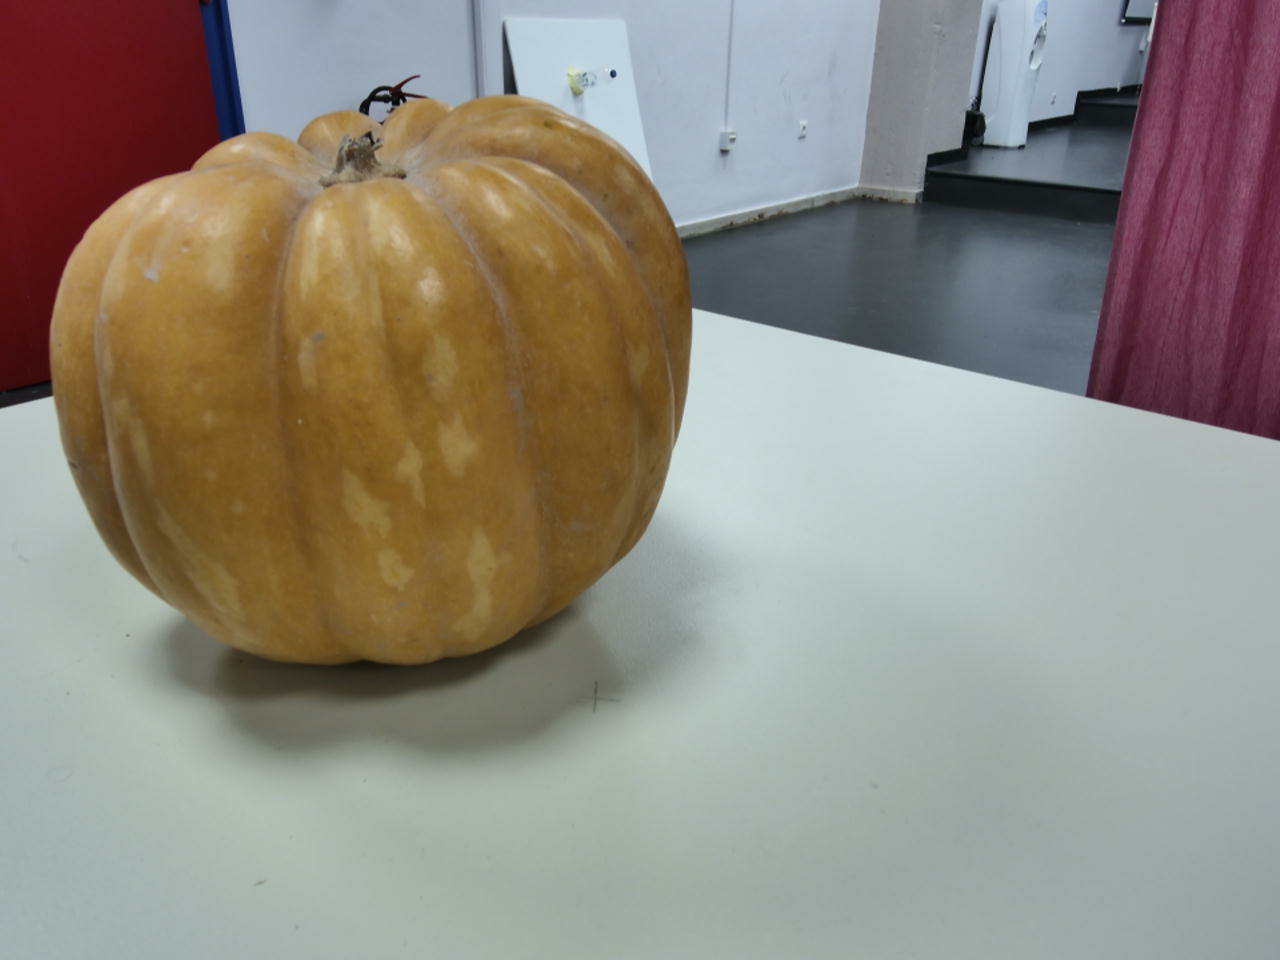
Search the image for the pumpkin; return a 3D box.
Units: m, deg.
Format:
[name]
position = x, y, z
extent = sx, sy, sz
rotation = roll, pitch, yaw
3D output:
[pumpkin]
position = -0.090, -0.039, 0.376
extent = 0.230, 0.194, 0.230
rotation = 1, 24, 0
